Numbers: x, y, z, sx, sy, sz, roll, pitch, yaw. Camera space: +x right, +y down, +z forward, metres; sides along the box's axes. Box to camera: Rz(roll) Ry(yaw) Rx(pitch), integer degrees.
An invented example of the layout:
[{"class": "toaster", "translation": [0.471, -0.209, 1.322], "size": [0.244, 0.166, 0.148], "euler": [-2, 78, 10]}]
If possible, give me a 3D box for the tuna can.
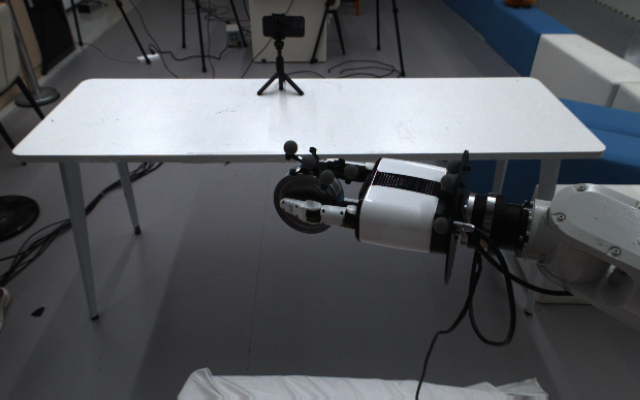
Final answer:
[{"class": "tuna can", "translation": [-0.012, -0.002, 0.618], "size": [0.085, 0.085, 0.034], "euler": [12, 30, 15]}]
